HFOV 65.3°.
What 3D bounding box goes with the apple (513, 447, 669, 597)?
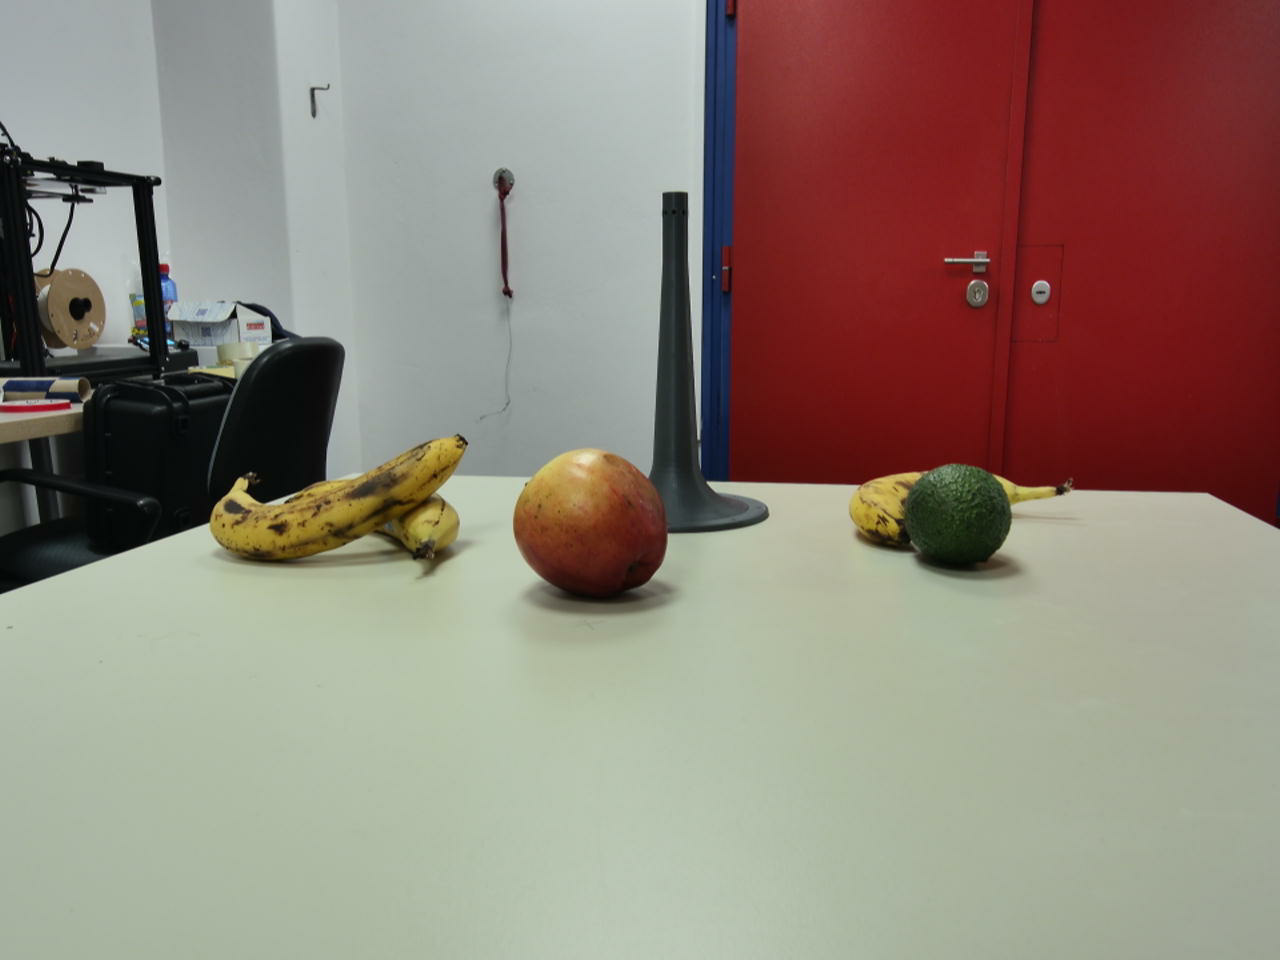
[{"bbox_3d":[-0.030,0.024,0.586,0.086,0.084,0.093,-5,8,-24],"label":"apple"}]
